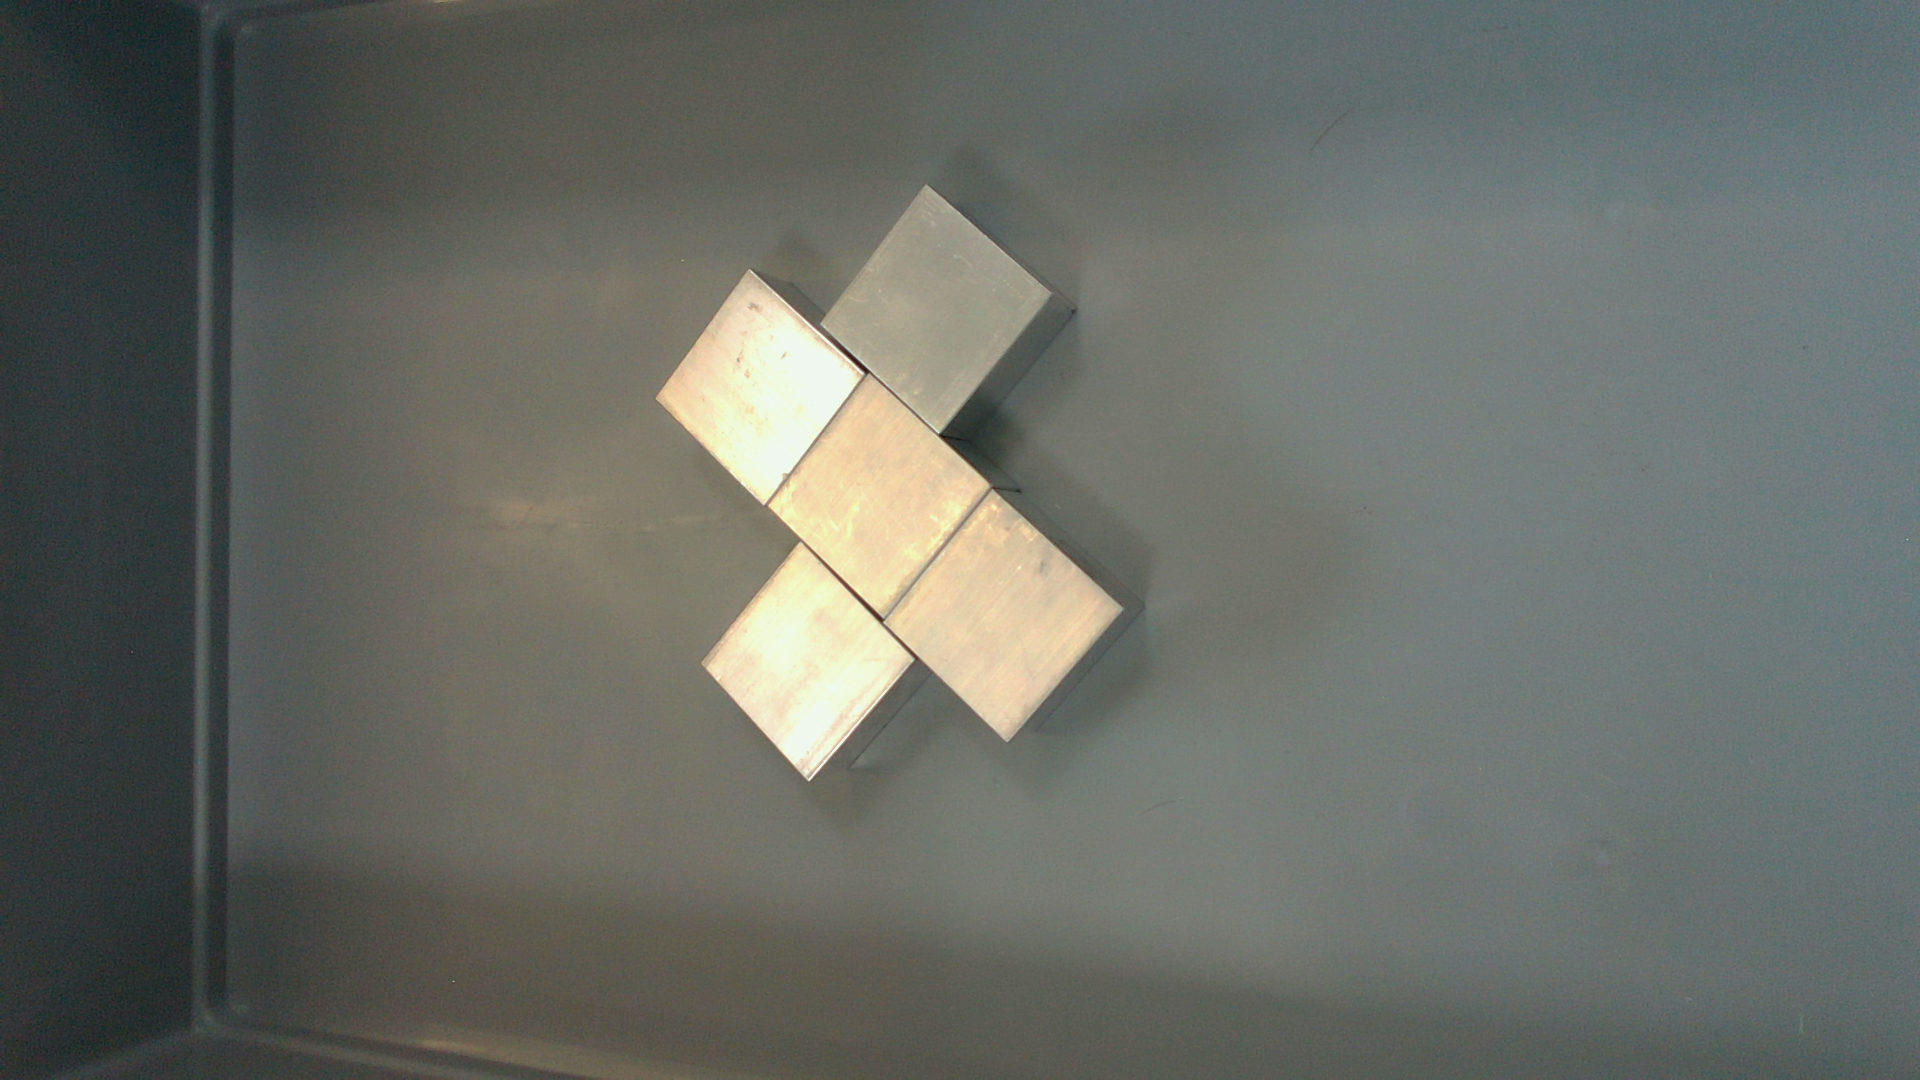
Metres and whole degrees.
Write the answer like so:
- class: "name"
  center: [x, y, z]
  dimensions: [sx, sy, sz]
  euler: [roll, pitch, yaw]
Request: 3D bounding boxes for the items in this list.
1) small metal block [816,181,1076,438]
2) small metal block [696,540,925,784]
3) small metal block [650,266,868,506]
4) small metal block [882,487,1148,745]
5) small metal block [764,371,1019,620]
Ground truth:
- class: "small metal block"
  center: [-0.004, -0.065, 0.395]
  dimensions: [0.050, 0.025, 0.050]
  euler: [43, 103, 15]
- class: "small metal block"
  center: [-0.041, 0.035, 0.410]
  dimensions: [0.050, 0.025, 0.050]
  euler: [44, 105, 14]
- class: "small metal block"
  center: [-0.056, -0.045, 0.414]
  dimensions: [0.050, 0.025, 0.050]
  euler: [43, 103, 15]
- class: "small metal block"
  center: [0.016, 0.021, 0.388]
  dimensions: [0.050, 0.025, 0.050]
  euler: [43, 103, 15]
- class: "small metal block"
  center: [-0.020, -0.013, 0.400]
  dimensions: [0.050, 0.025, 0.050]
  euler: [43, 103, 15]
